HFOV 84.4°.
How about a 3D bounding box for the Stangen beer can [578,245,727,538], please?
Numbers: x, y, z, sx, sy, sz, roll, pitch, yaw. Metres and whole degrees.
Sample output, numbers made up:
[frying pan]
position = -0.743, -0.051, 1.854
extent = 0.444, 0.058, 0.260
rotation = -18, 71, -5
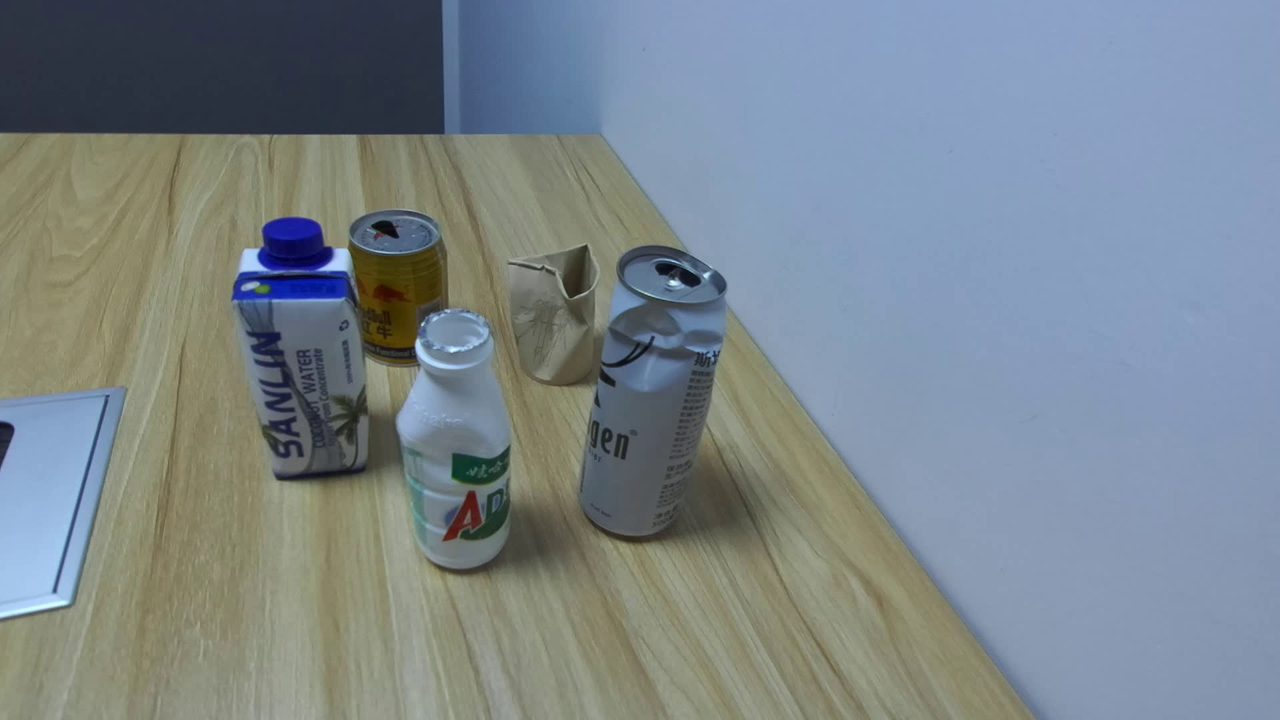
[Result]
[Stangen beer can]
position = 0.005, 0.024, 0.387
extent = 0.066, 0.166, 0.066
rotation = 16, 38, 7

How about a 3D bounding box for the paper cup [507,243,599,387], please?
[paper cup]
position = -0.060, -0.030, 0.494
extent = 0.058, 0.083, 0.066
rotation = -3, 37, -12

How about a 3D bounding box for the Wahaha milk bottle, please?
[Wahaha milk bottle]
position = -0.090, 0.044, 0.353
extent = 0.056, 0.149, 0.055
rotation = 6, 40, -5

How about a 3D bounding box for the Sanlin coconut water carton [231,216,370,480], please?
[Sanlin coconut water carton]
position = -0.184, -0.002, 0.392
extent = 0.061, 0.144, 0.060
rotation = -5, 41, -20

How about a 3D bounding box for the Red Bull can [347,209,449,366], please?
[Red Bull can]
position = -0.169, -0.050, 0.499
extent = 0.067, 0.093, 0.067
rotation = 5, 36, -4
